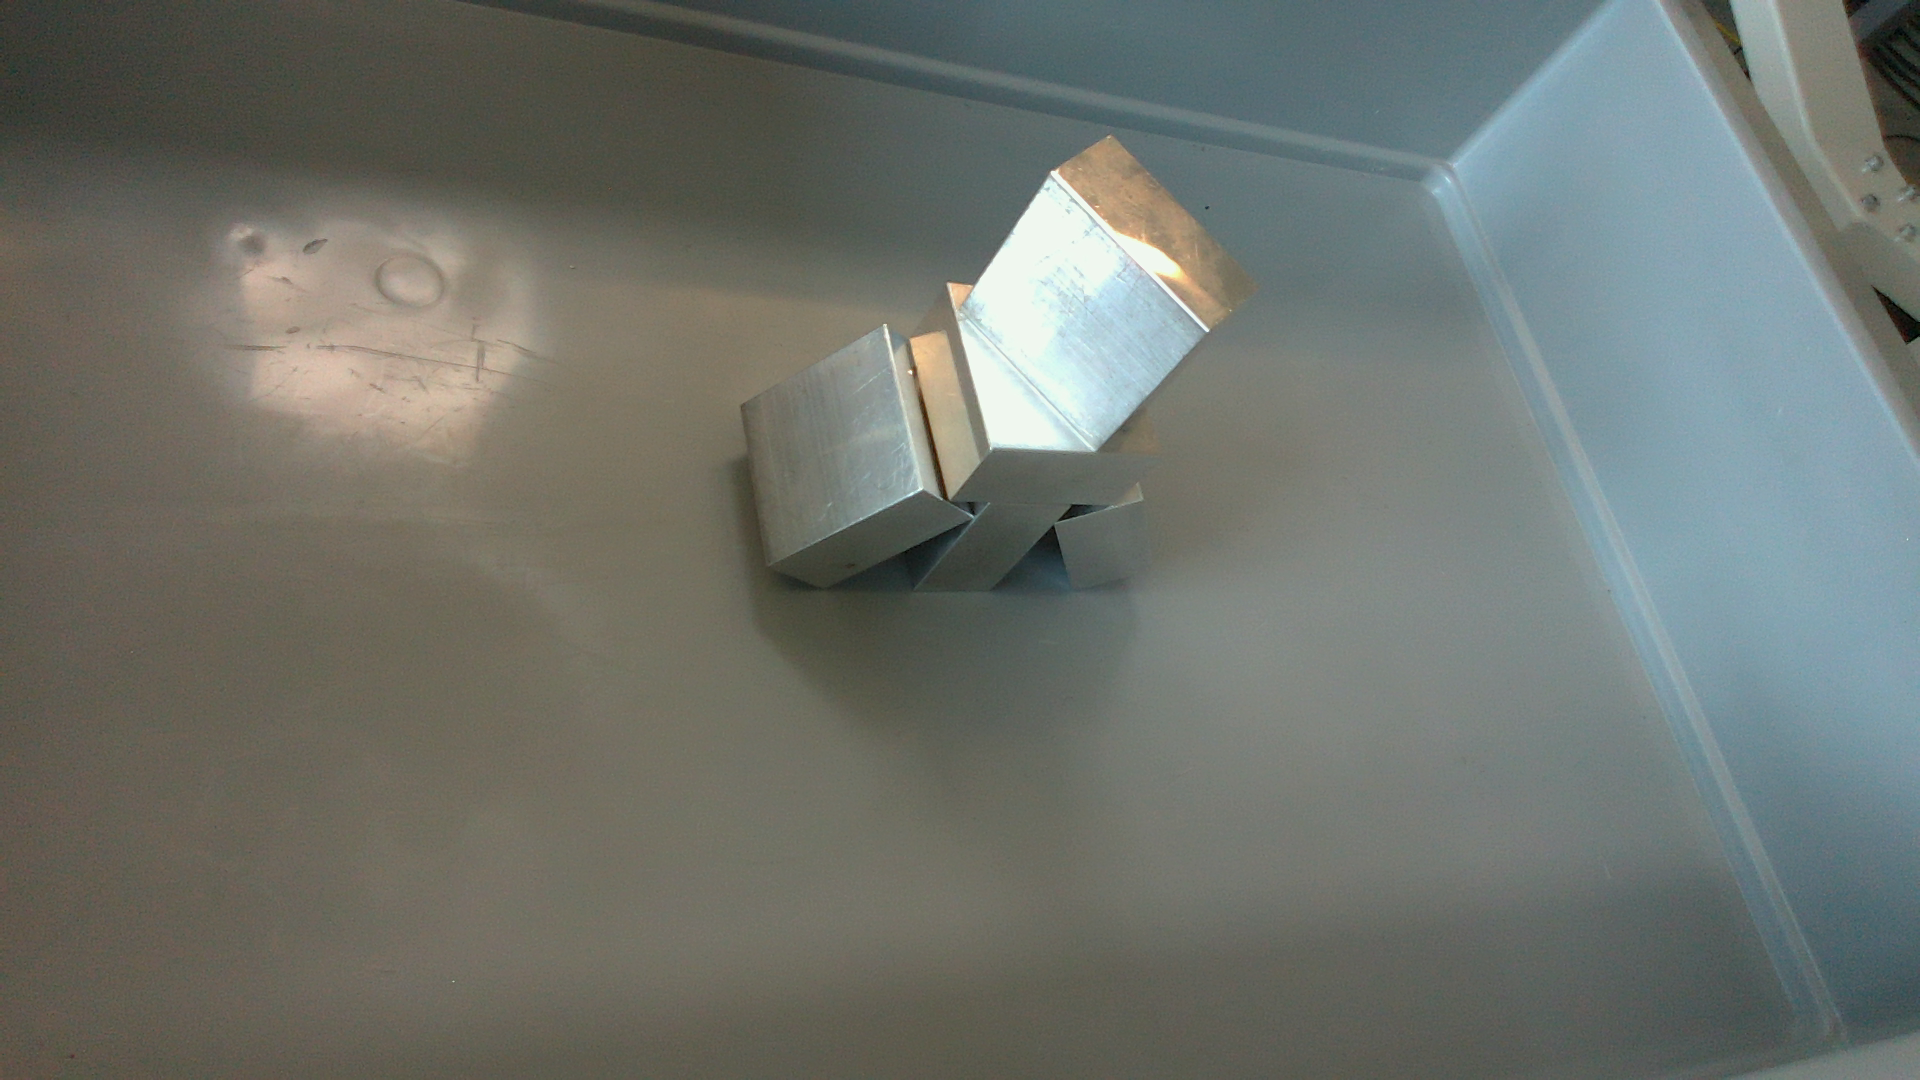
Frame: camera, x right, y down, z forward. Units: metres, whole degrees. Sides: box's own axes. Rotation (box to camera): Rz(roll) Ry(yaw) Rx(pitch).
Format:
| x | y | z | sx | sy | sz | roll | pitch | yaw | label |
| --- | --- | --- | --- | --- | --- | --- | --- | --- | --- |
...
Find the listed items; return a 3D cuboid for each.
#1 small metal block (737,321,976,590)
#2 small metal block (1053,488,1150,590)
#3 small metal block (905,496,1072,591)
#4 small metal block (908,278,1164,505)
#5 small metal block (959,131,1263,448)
| x | y | z | sx | sy | sz | roll | pitch | yaw | label |
| --- | --- | --- | --- | --- | --- | --- | --- | --- | --- |
| -0.028 | -0.022 | 0.366 | 0.025 | 0.050 | 0.050 | 28 | 42 | -55 | small metal block |
| 0.036 | -0.020 | 0.401 | 0.025 | 0.050 | 0.050 | -15 | 65 | 3 | small metal block |
| 0.003 | -0.019 | 0.385 | 0.025 | 0.050 | 0.050 | 1 | 61 | -28 | small metal block |
| 0.019 | -0.038 | 0.356 | 0.050 | 0.025 | 0.050 | 1 | 61 | -28 | small metal block |
| 0.035 | -0.059 | 0.329 | 0.050 | 0.050 | 0.025 | 46 | 52 | 4 | small metal block |
